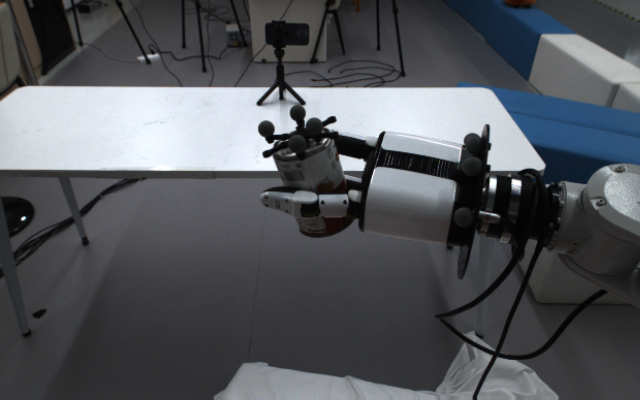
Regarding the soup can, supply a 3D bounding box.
[{"bbox_3d":[-0.004,-0.019,0.526,0.067,0.101,0.067,-13,31,8],"label":"soup can"}]
